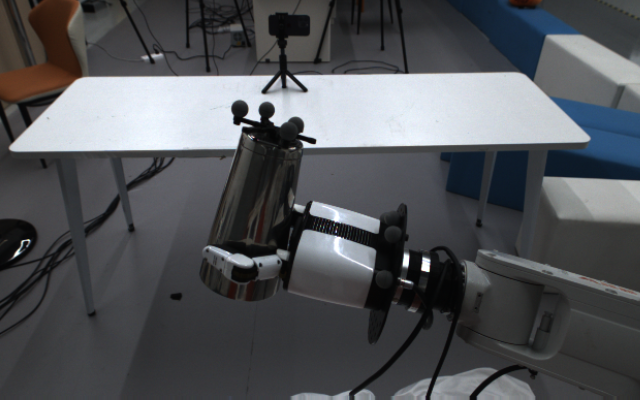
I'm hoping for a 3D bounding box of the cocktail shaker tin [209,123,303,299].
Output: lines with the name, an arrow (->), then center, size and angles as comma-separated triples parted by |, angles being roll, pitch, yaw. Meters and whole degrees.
cocktail shaker tin -> -0.069, 0.013, 0.527 | 0.093, 0.170, 0.093 | 14, 20, -5
